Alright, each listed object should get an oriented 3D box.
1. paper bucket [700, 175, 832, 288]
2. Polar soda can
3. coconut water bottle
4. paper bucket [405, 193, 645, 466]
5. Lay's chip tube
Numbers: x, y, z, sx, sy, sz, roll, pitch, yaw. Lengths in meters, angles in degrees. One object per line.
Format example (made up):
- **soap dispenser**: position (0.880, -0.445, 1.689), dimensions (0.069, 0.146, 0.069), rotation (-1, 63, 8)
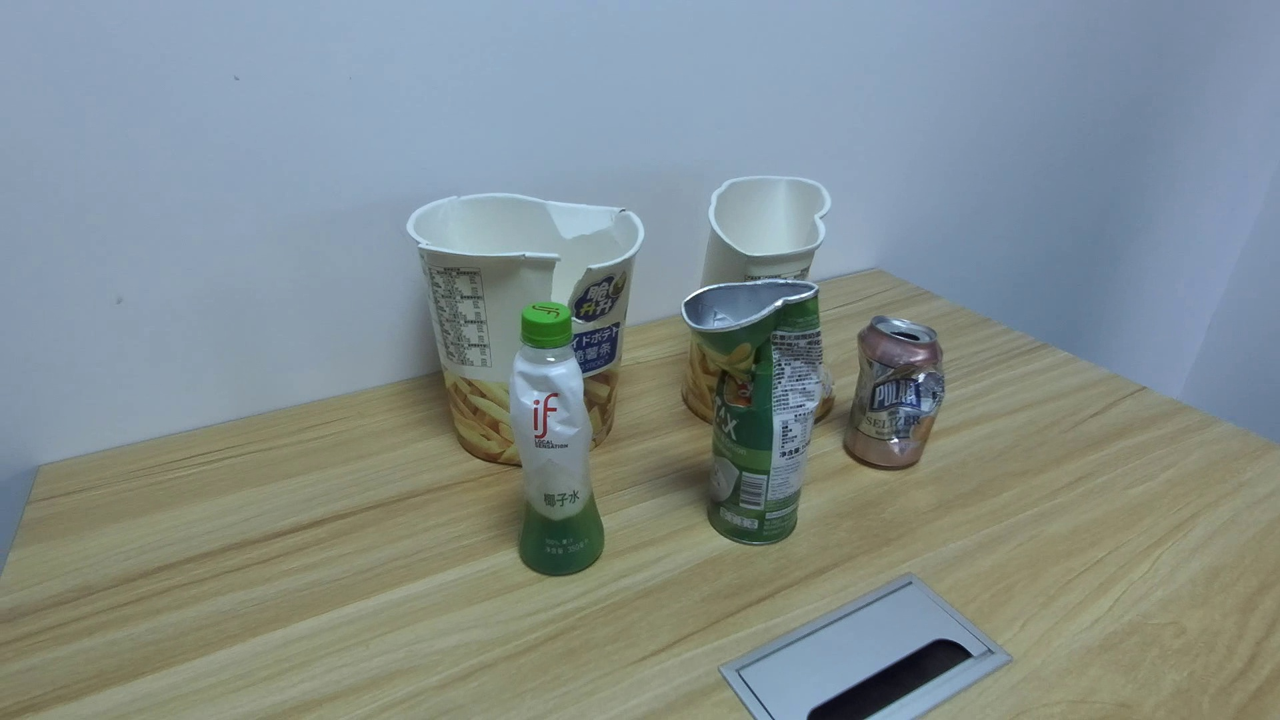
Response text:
- **paper bucket**: position (0.113, -0.051, 0.646), dimensions (0.148, 0.199, 0.217), rotation (-9, 30, -13)
- **Polar soda can**: position (0.218, 0.028, 0.601), dimensions (0.071, 0.122, 0.066), rotation (2, 21, -2)
- **coconut water bottle**: position (-0.057, 0.054, 0.476), dimensions (0.067, 0.187, 0.067), rotation (0, 27, 0)
- **paper bucket**: position (-0.094, -0.027, 0.614), dimensions (0.202, 0.197, 0.146), rotation (7, 30, 15)
- **Lay's chip tube**: position (0.077, 0.039, 0.493), dimensions (0.071, 0.200, 0.078), rotation (-29, 38, -29)
